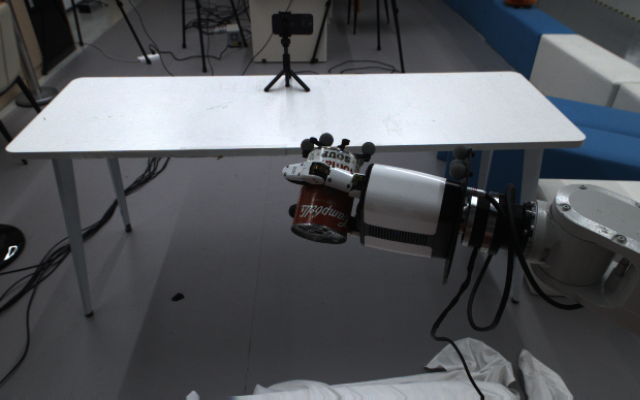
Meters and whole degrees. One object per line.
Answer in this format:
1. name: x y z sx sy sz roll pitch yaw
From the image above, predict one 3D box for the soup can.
1. soup can: 0.010 -0.005 0.583 0.067 0.067 0.101 9 71 9
